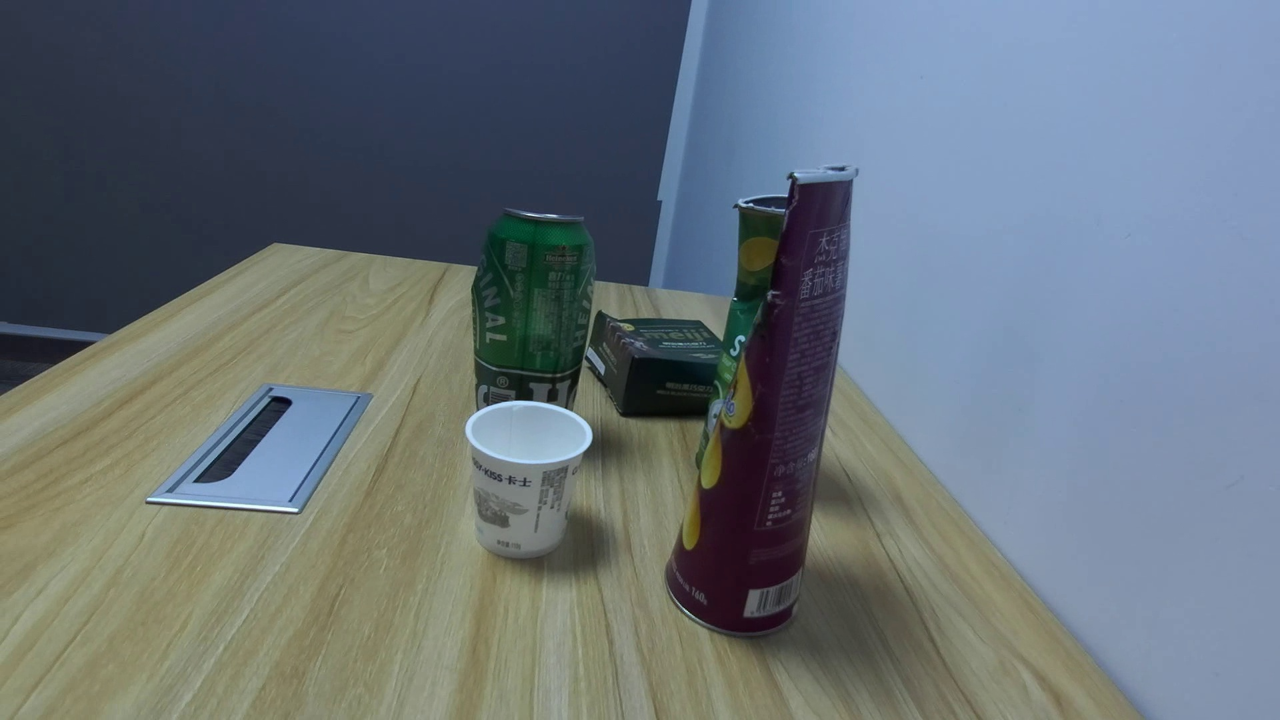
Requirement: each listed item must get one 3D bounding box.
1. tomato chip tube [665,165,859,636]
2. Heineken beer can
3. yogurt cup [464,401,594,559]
[{"bbox_3d":[0.071,0.023,0.362,0.090,0.235,0.077,-3,21,-25],"label":"tomato chip tube"},{"bbox_3d":[-0.075,-0.018,0.495,0.068,0.168,0.069,18,19,31],"label":"Heineken beer can"},{"bbox_3d":[-0.066,0.070,0.406,0.072,0.068,0.072,8,22,-3],"label":"yogurt cup"}]
